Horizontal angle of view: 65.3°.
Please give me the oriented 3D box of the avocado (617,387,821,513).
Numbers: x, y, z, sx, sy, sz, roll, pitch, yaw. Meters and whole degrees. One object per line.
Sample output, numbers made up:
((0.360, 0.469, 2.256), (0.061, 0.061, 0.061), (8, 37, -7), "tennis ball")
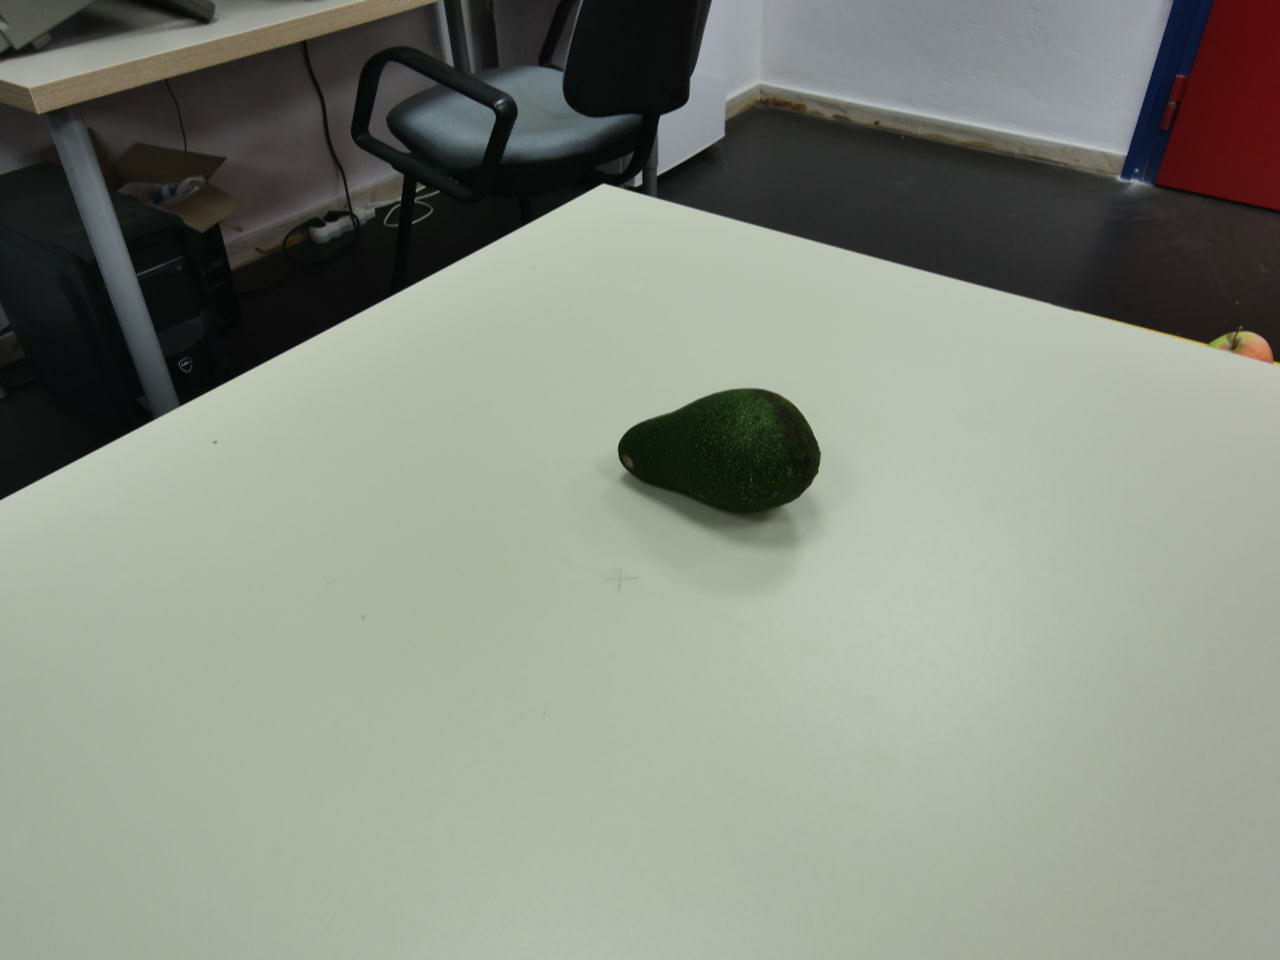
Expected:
((0.051, -0.024, 0.596), (0.123, 0.076, 0.074), (29, 47, 33), "avocado")
